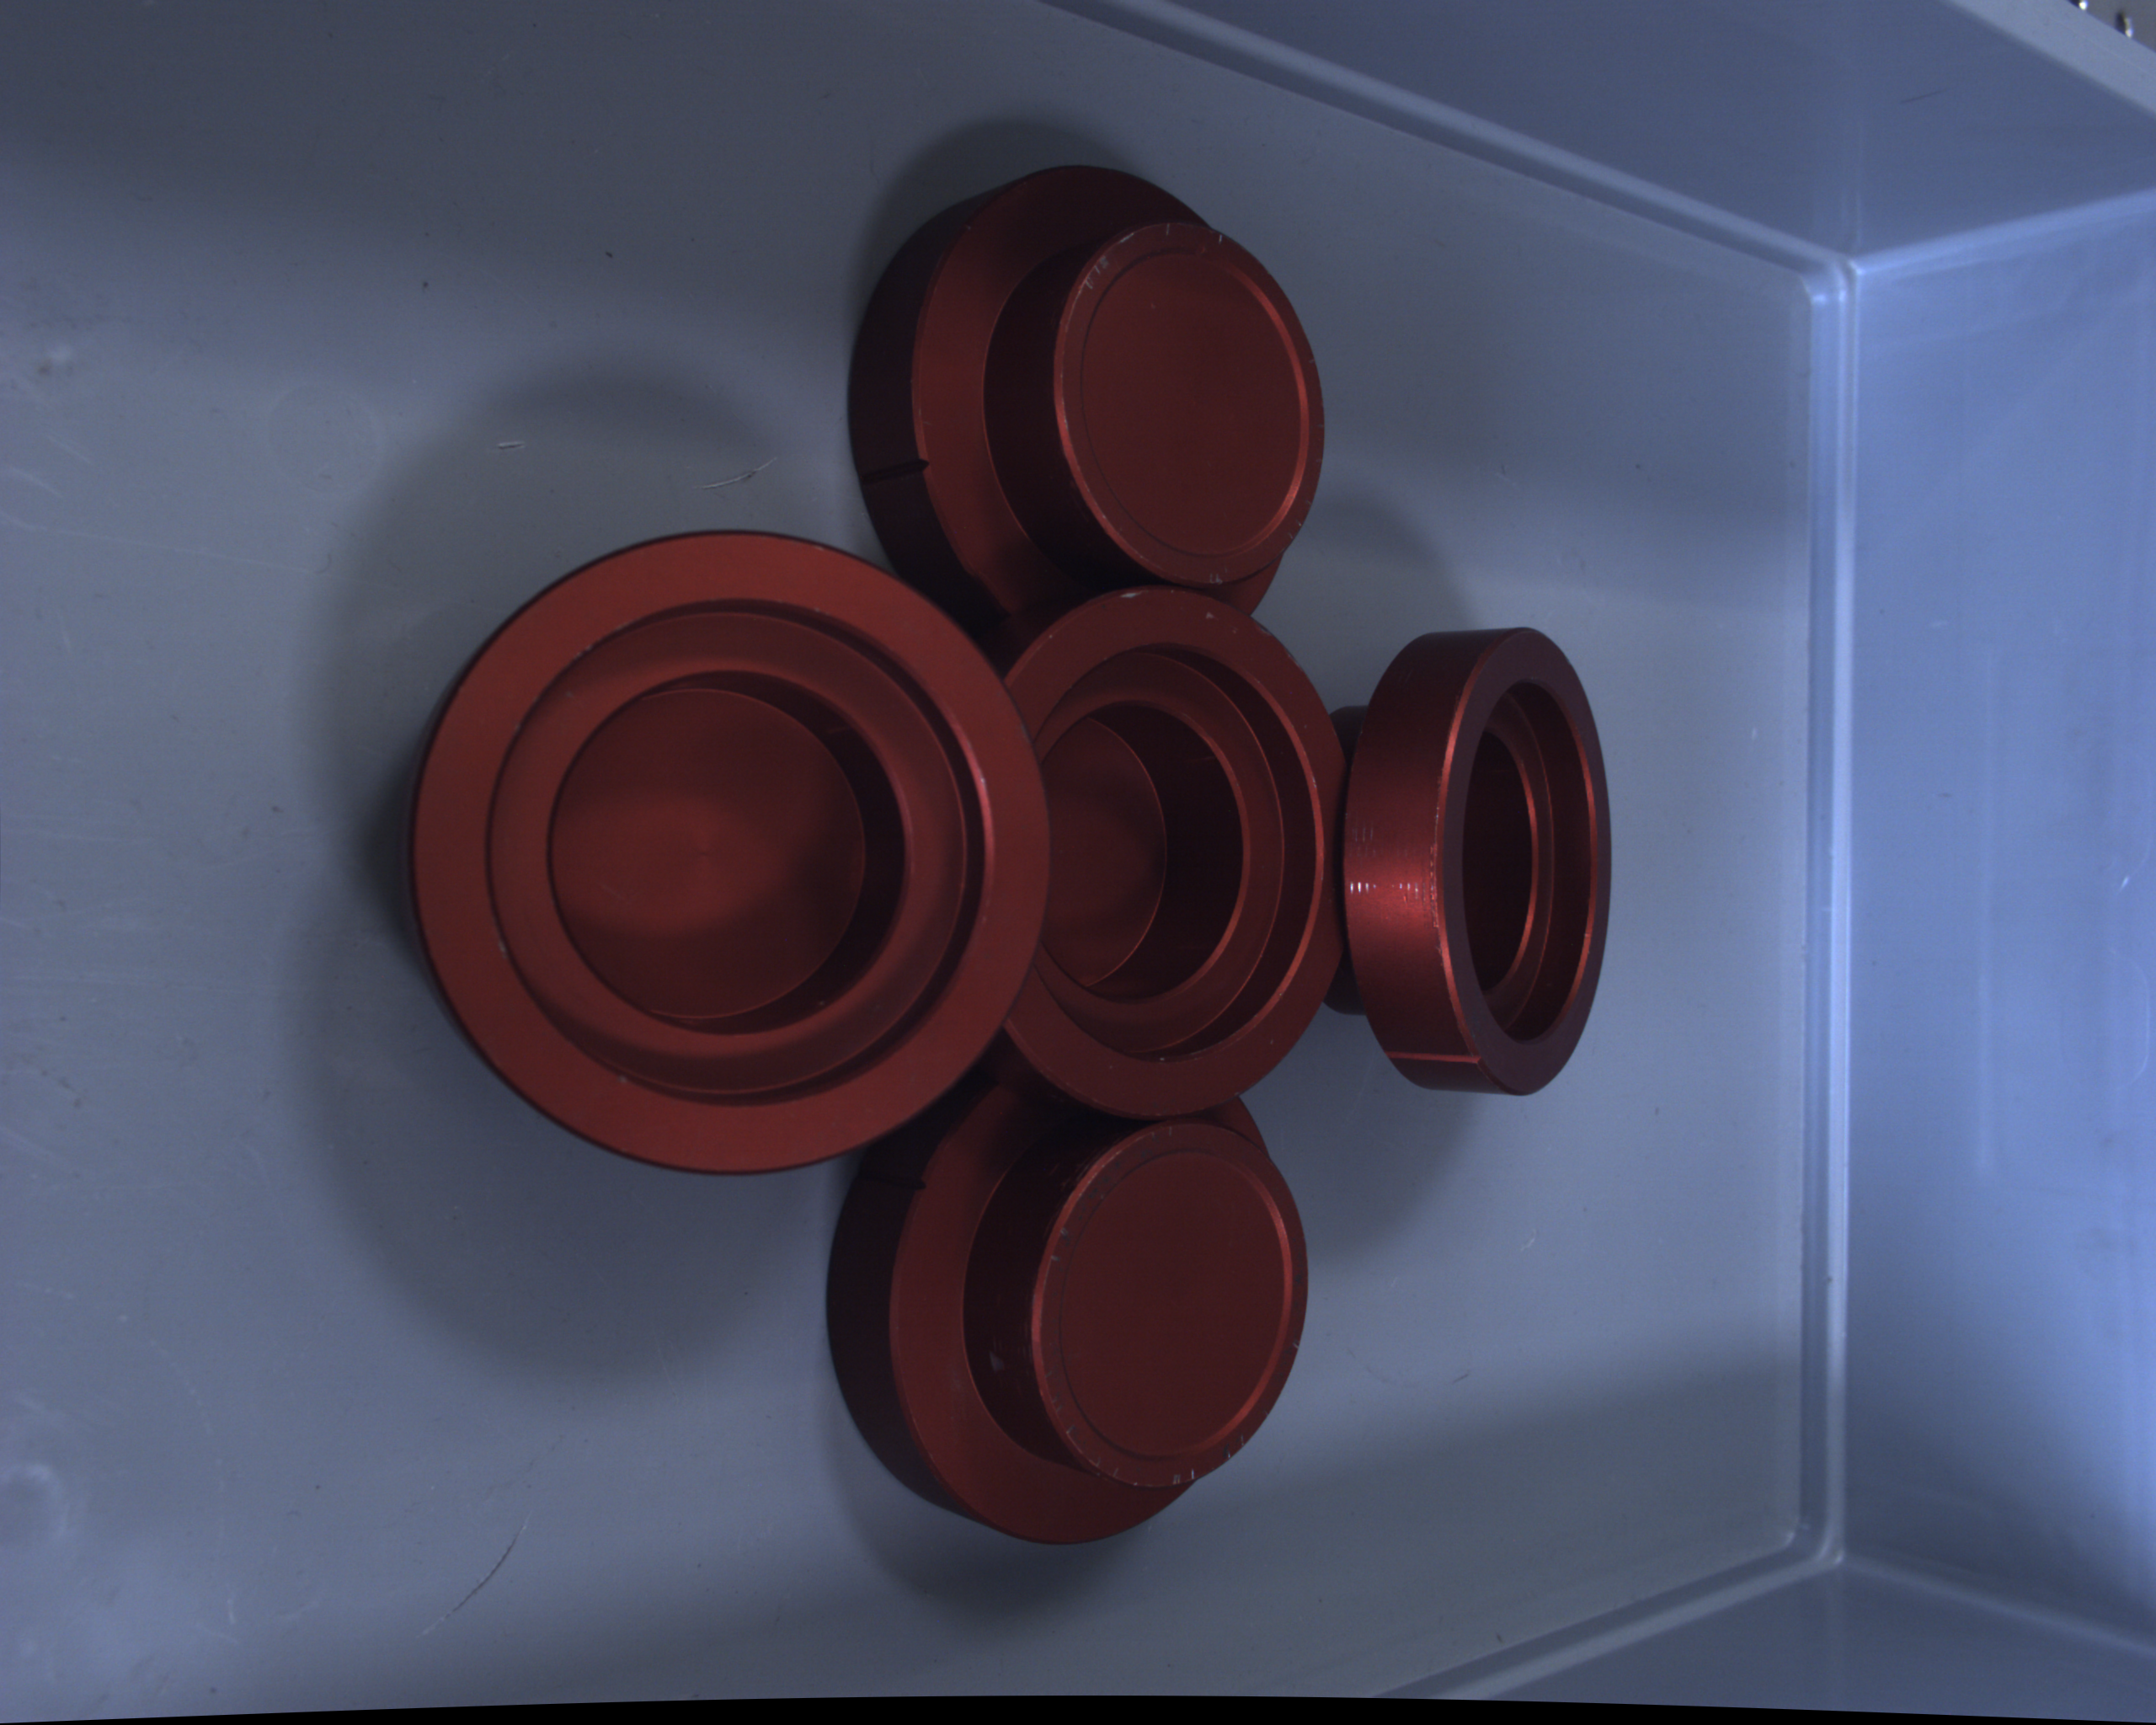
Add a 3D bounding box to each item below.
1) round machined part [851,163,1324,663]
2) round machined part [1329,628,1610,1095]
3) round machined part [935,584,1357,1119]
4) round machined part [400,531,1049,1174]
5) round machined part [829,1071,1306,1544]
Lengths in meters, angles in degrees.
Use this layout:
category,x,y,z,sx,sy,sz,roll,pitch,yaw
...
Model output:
category,x,y,z,sx,sy,sz,roll,pitch,yaw
round machined part,0.009,-0.085,0.400,0.099,0.042,0.097,0,90,-40
round machined part,0.077,0.000,0.447,0.099,0.042,0.097,-1,91,-56
round machined part,0.005,-0.002,0.396,0.099,0.042,0.097,0,90,-40
round machined part,-0.058,-0.002,0.334,0.099,0.042,0.097,0,90,-23
round machined part,0.005,0.080,0.398,0.099,0.042,0.097,0,90,-40
